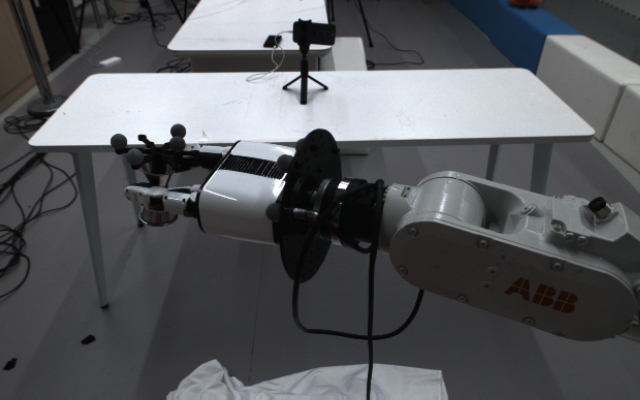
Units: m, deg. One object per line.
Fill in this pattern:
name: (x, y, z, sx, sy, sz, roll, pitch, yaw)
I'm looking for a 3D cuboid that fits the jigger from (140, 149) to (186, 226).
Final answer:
jigger: (-0.186, -0.009, 0.560, 0.043, 0.071, 0.043, 9, 31, -5)
